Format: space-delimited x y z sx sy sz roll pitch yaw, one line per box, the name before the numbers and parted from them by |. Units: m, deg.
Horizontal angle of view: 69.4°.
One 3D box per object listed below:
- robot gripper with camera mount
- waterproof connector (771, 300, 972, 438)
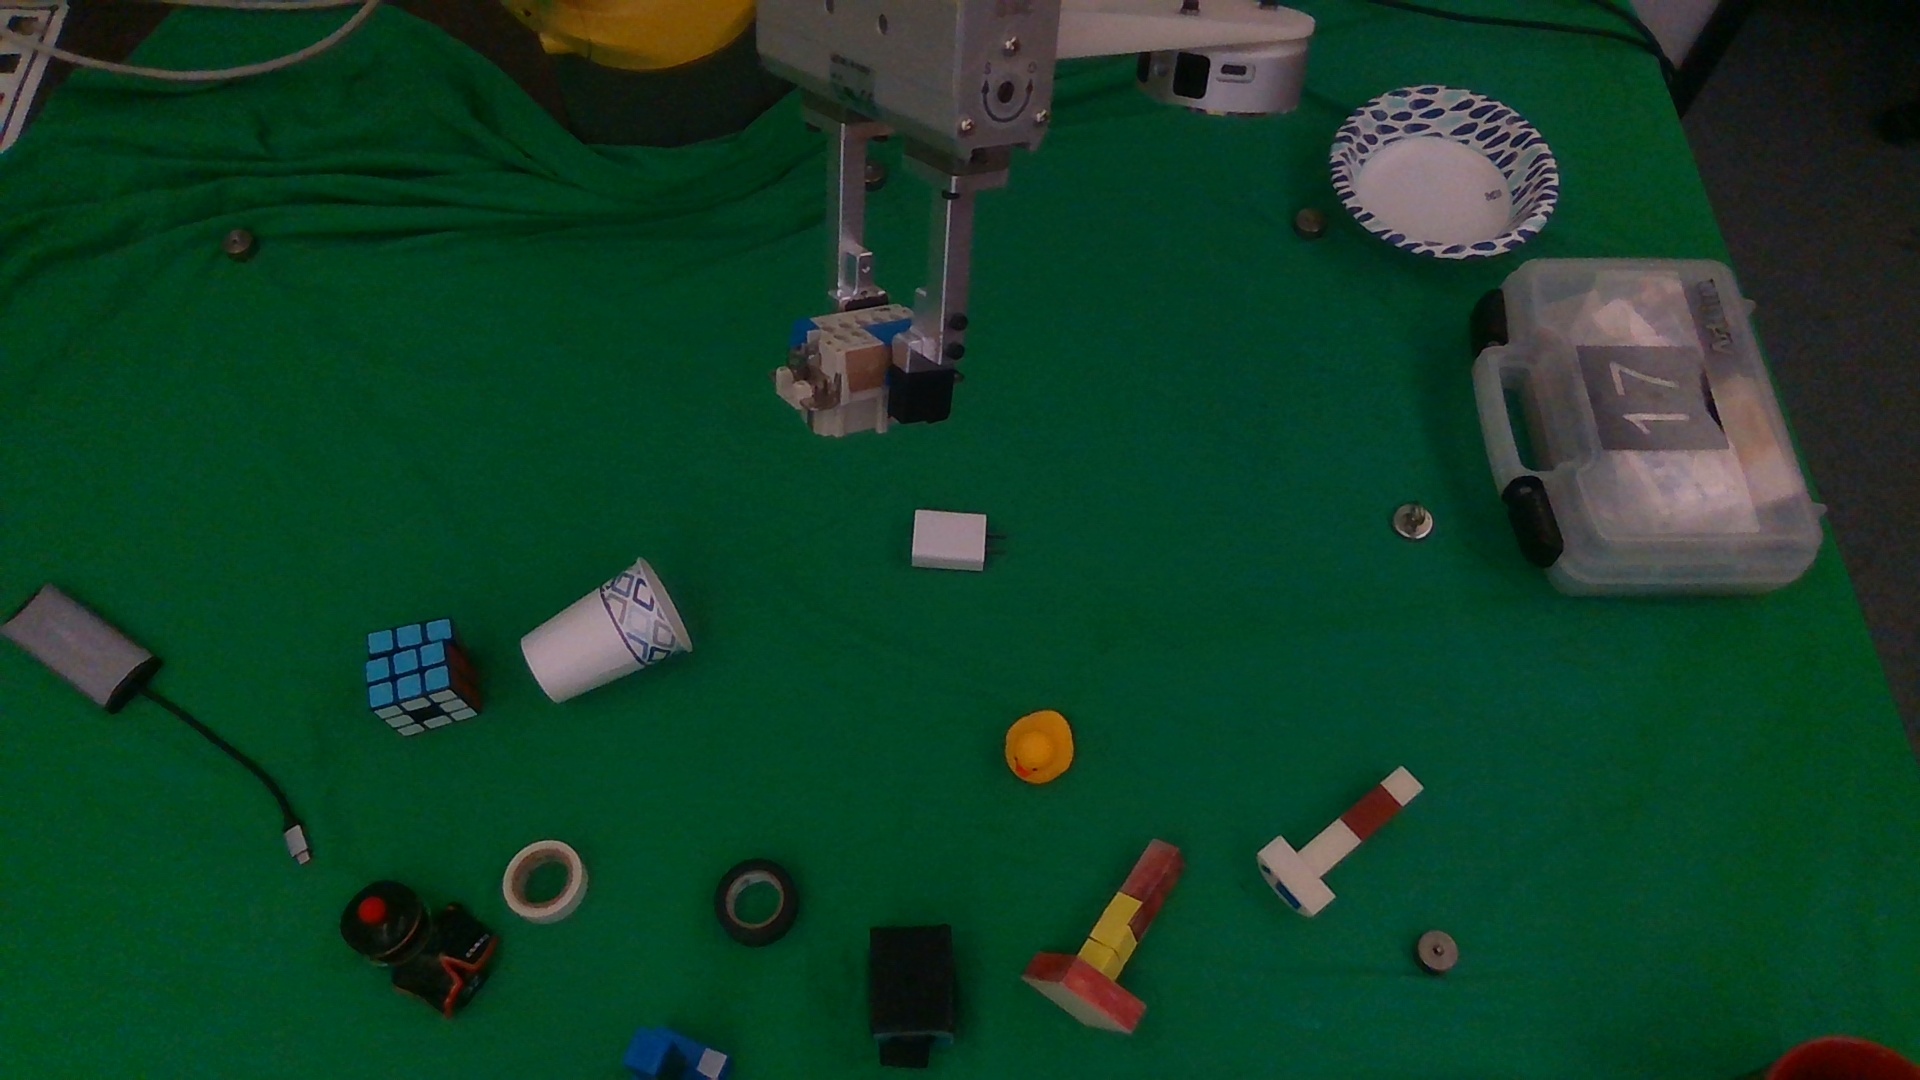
robot gripper with camera mount | 0.039 -0.142 0.500 0.193 0.158 0.119 -18 35 -36
waterproof connector | -0.031 -0.058 0.483 0.065 0.037 0.035 -16 40 -32
